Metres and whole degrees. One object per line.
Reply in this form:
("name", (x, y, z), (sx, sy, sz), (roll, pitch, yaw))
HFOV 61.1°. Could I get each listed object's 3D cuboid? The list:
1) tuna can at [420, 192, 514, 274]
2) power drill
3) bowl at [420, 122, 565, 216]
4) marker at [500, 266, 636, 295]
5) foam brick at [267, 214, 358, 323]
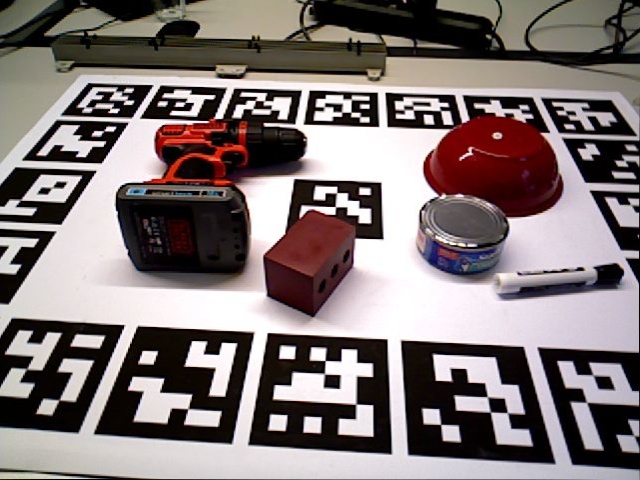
("tuna can", (0.140, -0.008, 0.523), (0.085, 0.034, 0.084), (1, 42, -2))
("power drill", (-0.115, -0.059, 0.569), (0.184, 0.059, 0.183), (4, 40, -1))
("bowl", (0.197, -0.090, 0.615), (0.161, 0.056, 0.159), (-2, 35, 1))
("marker", (0.223, 0.036, 0.485), (0.120, 0.020, 0.019), (-3, 44, -5))
("foam brick", (-0.006, 0.024, 0.485), (0.051, 0.054, 0.076), (21, 47, 19))
